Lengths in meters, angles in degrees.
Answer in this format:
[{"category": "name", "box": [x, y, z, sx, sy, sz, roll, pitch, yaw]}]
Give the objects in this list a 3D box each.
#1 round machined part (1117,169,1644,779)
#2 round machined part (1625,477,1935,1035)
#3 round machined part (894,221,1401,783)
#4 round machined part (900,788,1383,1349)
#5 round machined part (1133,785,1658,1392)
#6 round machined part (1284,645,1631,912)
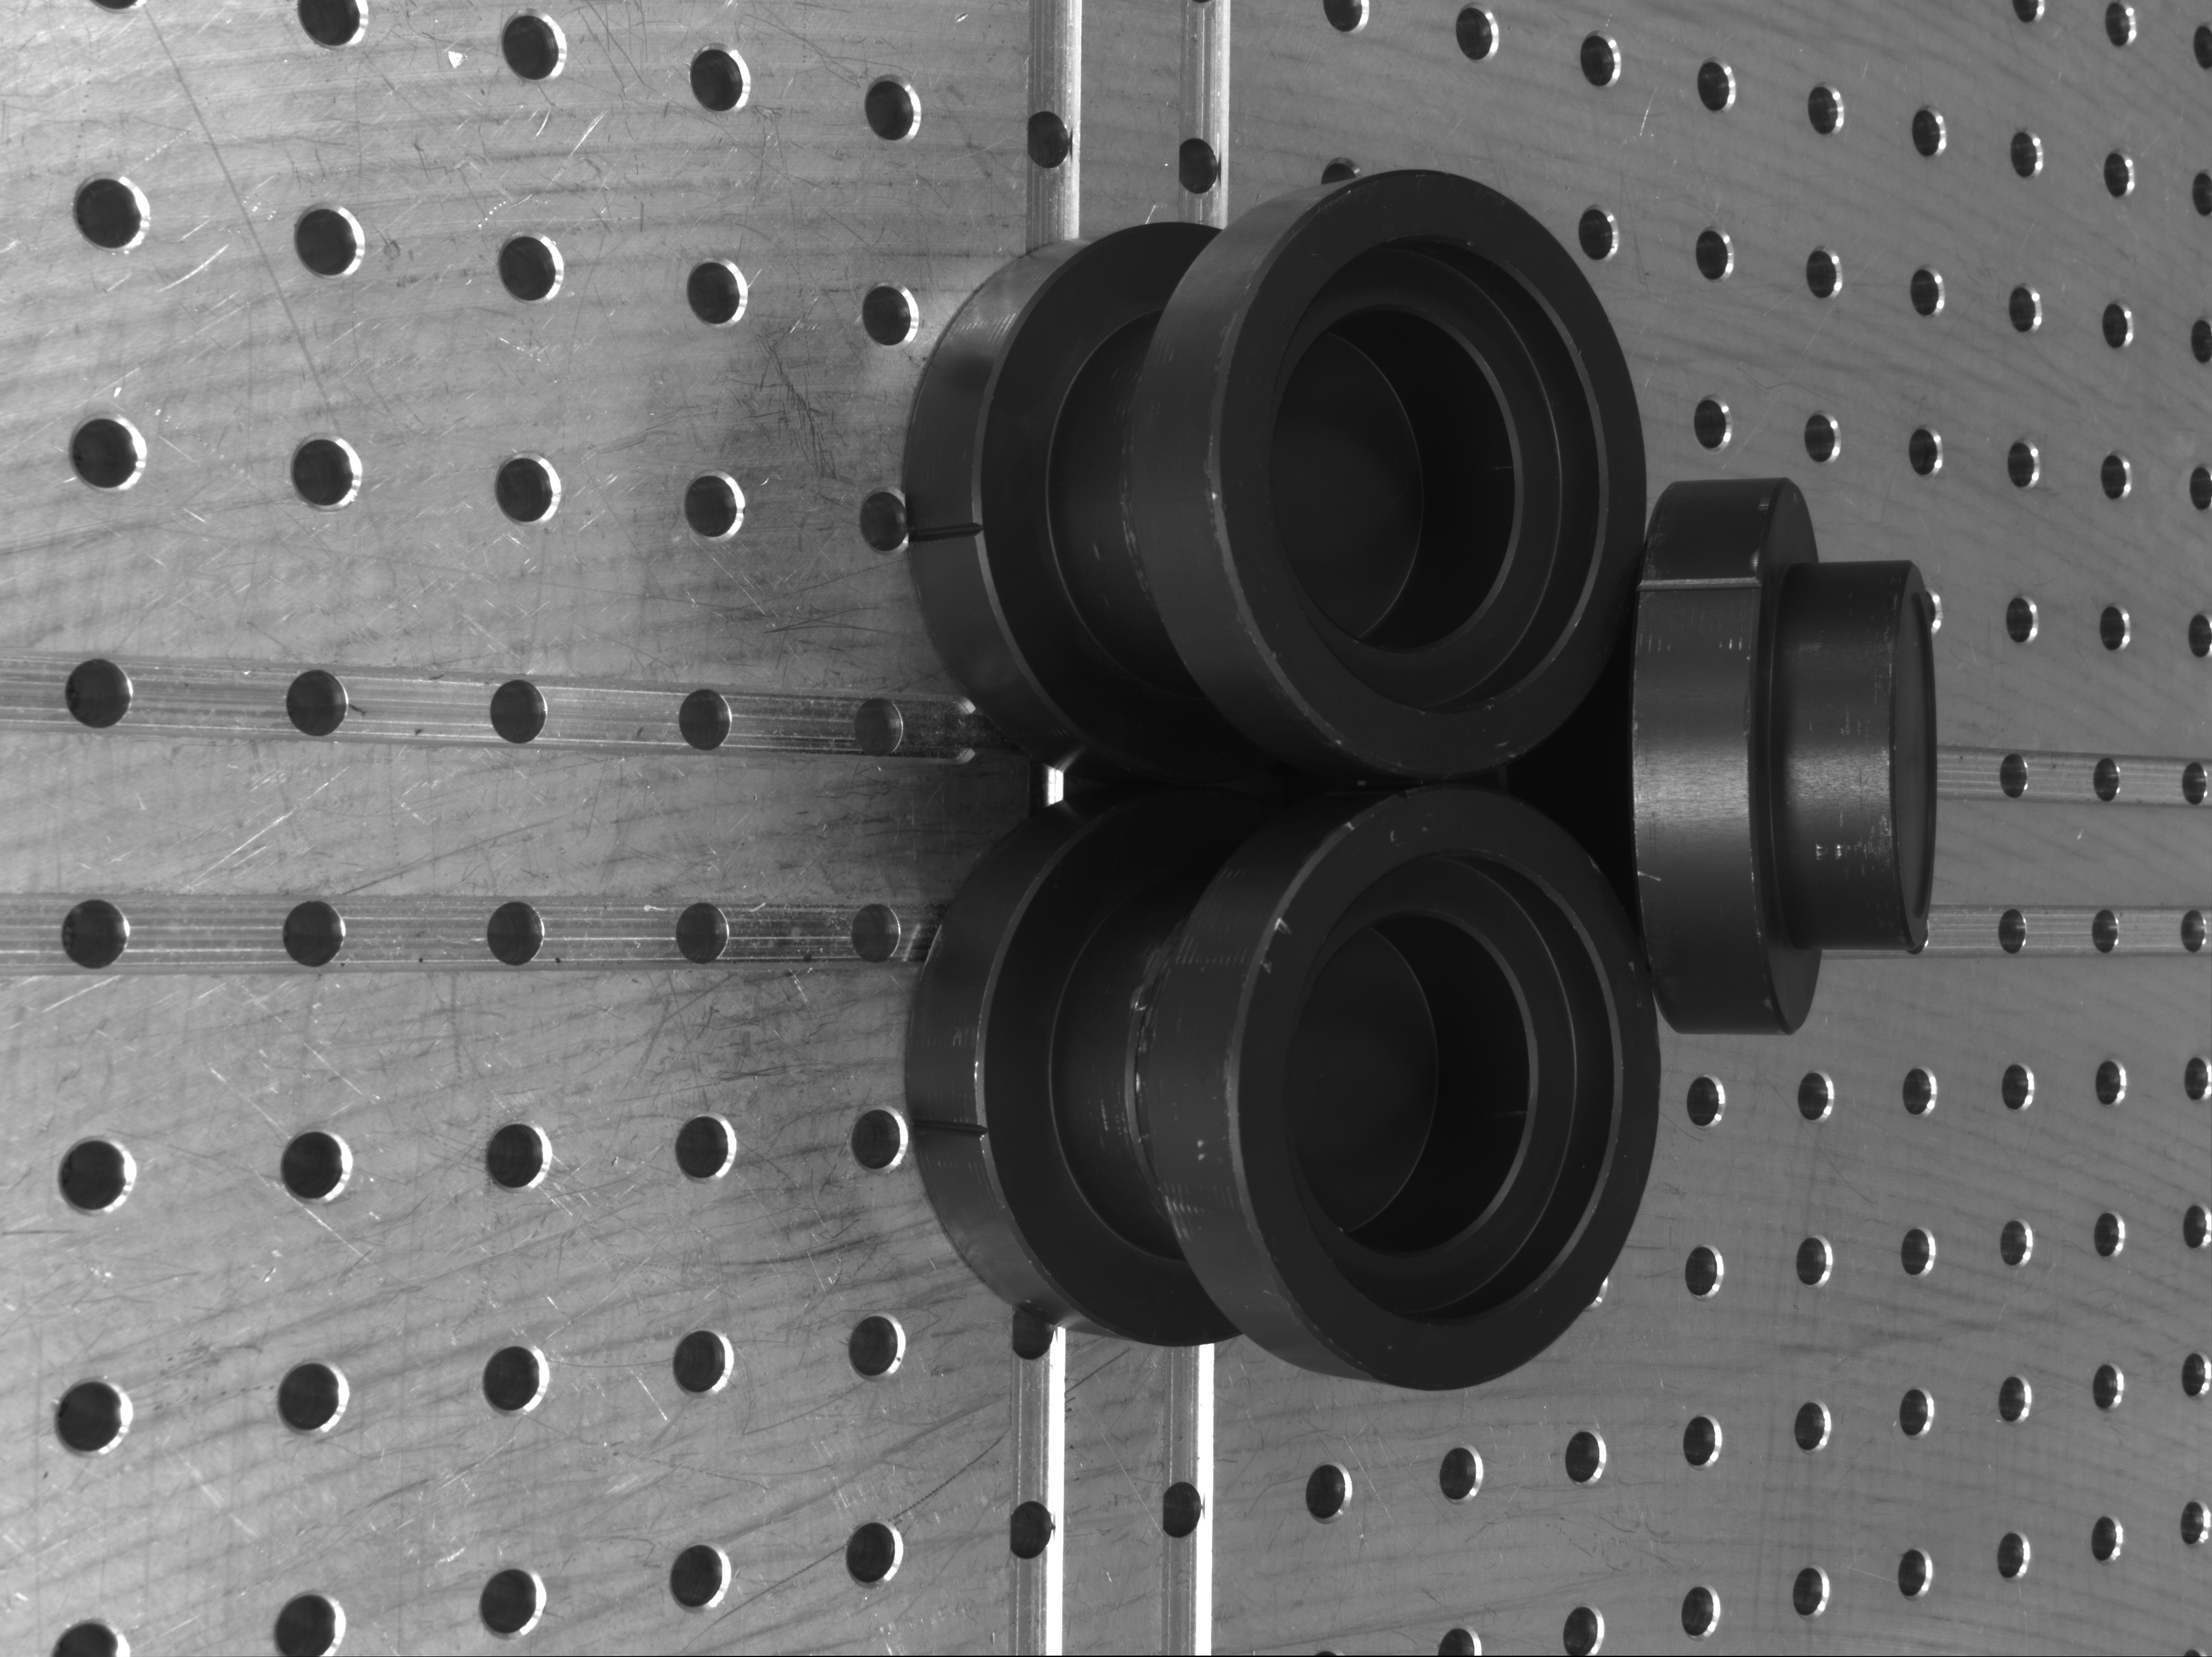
[{"category": "round machined part", "box": [0.041, -0.057, 0.607, 0.098, 0.042, 0.098, 0, 90, -40]}, {"category": "round machined part", "box": [0.121, -0.013, 0.647, 0.098, 0.042, 0.098, 0, 90, -72]}, {"category": "round machined part", "box": [0.014, -0.057, 0.641, 0.098, 0.042, 0.098, 0, 90, -40]}, {"category": "round machined part", "box": [0.015, 0.042, 0.642, 0.098, 0.042, 0.098, 0, 90, -40]}, {"category": "round machined part", "box": [0.043, 0.042, 0.609, 0.098, 0.042, 0.098, 0, 90, -40]}, {"category": "round machined part", "box": [0.083, -0.013, 0.698, 0.098, 0.042, 0.098, 0, 90, -40]}]
